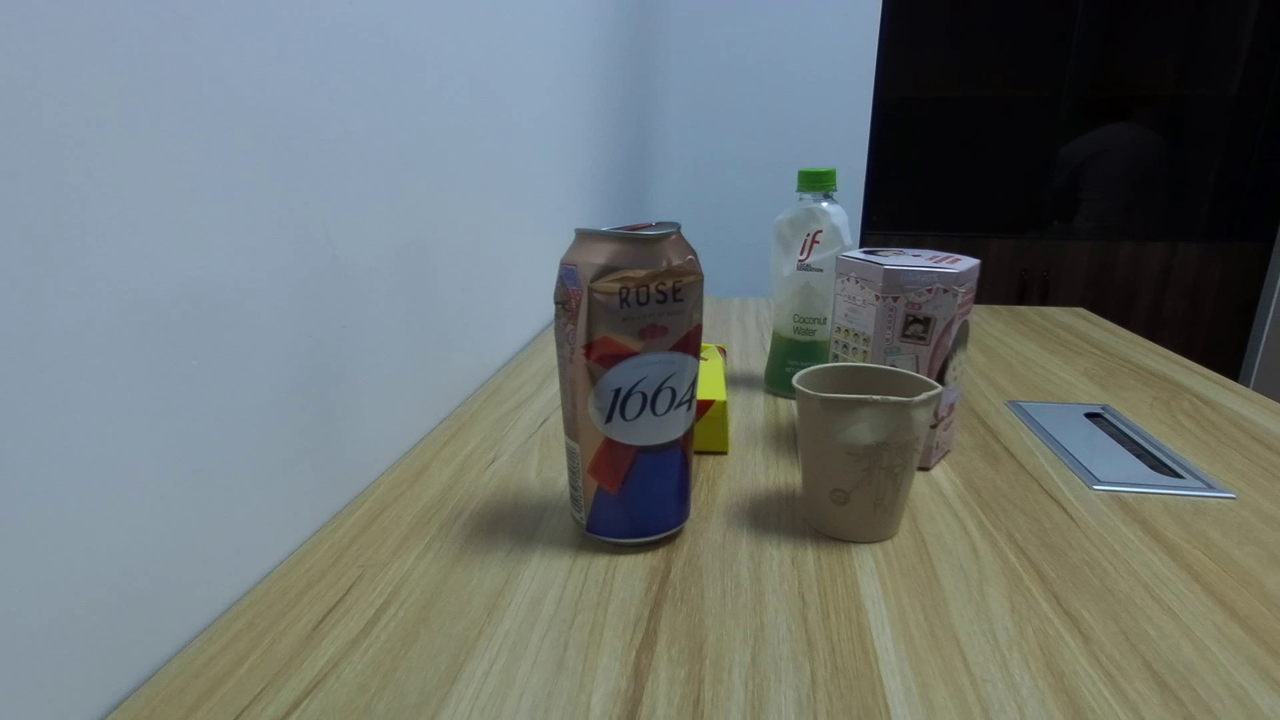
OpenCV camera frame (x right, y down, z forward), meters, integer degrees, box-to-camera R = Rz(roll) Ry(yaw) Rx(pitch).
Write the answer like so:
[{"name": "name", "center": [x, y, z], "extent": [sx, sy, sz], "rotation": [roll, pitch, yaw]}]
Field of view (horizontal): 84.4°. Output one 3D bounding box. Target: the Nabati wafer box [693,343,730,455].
[{"name": "Nabati wafer box", "center": [0.023, 0.017, 0.574], "extent": [0.096, 0.042, 0.203], "rotation": [1, 16, 6]}]

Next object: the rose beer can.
[{"name": "rose beer can", "center": [-0.004, 0.012, 0.376], "extent": [0.076, 0.167, 0.065], "rotation": [-7, 16, -15]}]

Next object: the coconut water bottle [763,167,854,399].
[{"name": "coconut water bottle", "center": [0.141, -0.063, 0.590], "extent": [0.067, 0.187, 0.067], "rotation": [1, 15, 0]}]

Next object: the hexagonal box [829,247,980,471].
[{"name": "hexagonal box", "center": [0.174, -0.003, 0.478], "extent": [0.083, 0.136, 0.091], "rotation": [13, 21, 34]}]
